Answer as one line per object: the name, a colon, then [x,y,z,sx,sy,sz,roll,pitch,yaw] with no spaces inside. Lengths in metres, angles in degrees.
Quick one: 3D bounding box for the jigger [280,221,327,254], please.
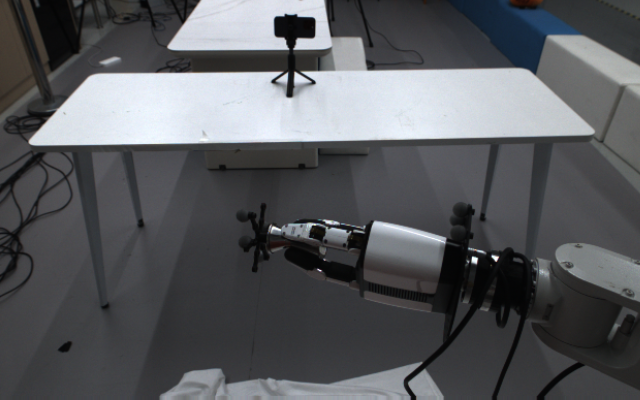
jigger: [-0.020,0.046,0.605,0.071,0.043,0.043,2,34,14]
